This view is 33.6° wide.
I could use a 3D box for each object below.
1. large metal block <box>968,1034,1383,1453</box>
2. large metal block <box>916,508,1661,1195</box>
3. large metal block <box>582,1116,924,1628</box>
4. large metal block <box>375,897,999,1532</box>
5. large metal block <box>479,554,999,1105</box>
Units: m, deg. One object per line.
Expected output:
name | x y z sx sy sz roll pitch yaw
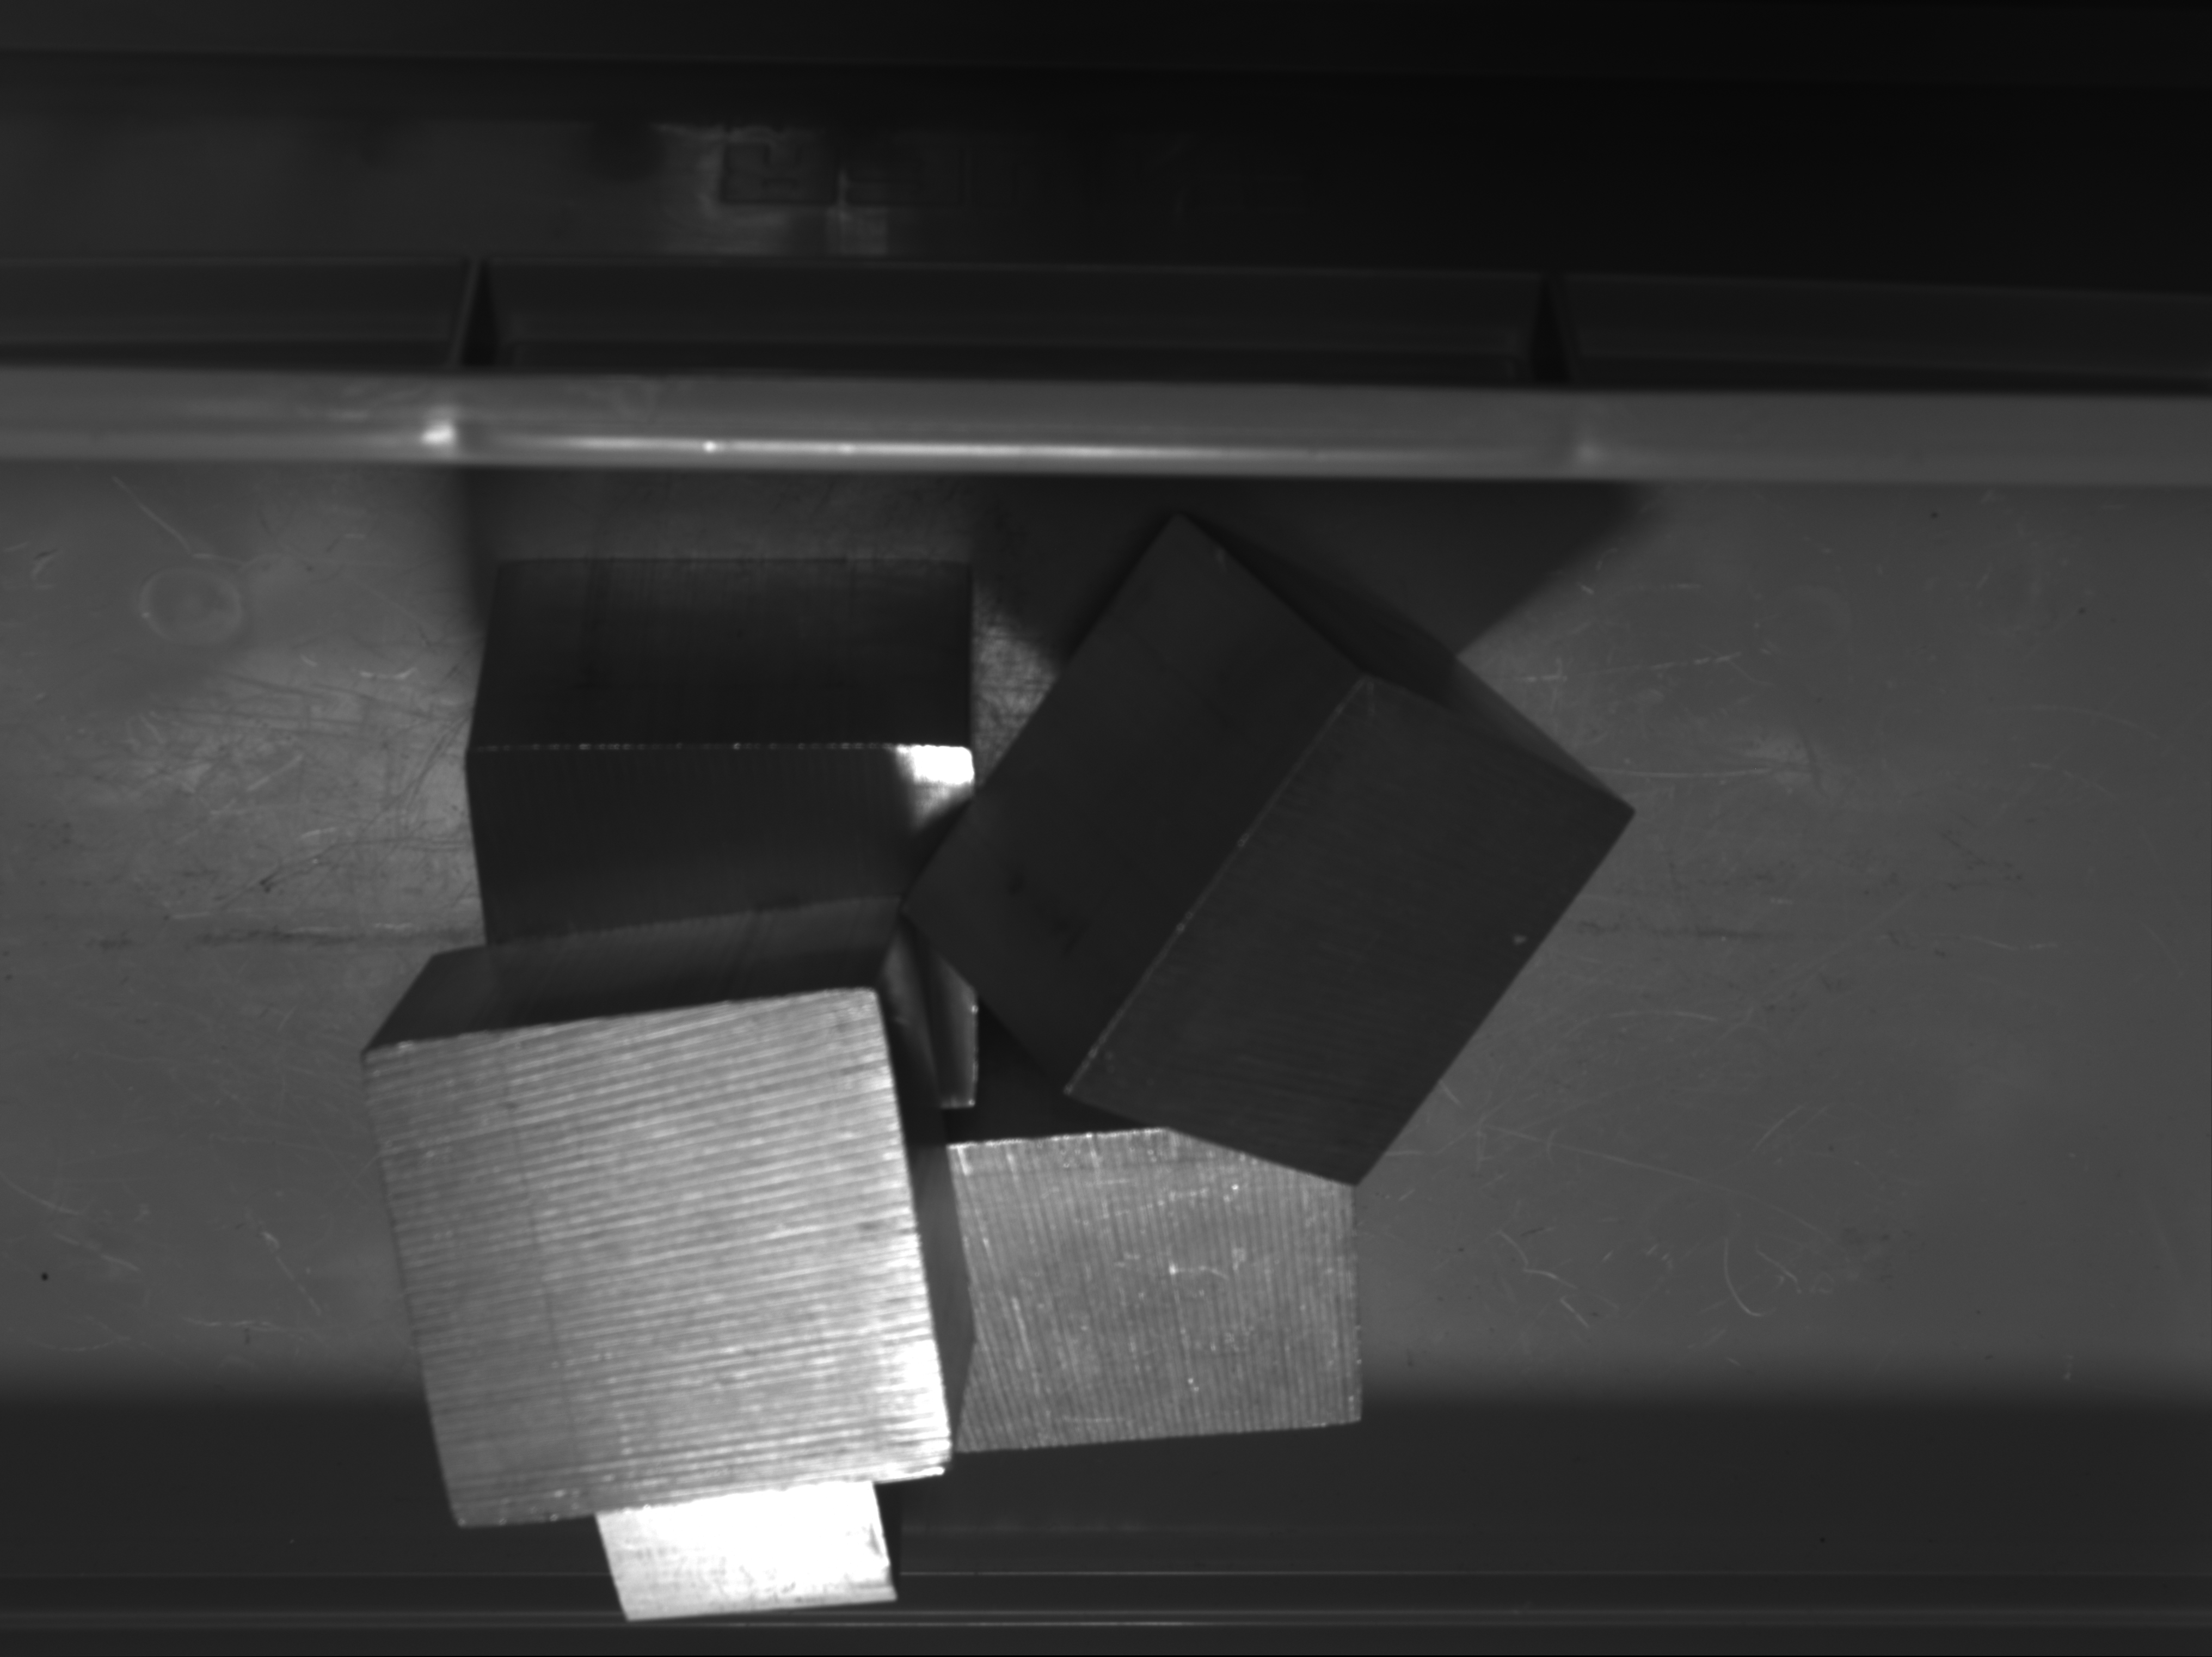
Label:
large metal block | 0.008 0.067 0.674 0.080 0.050 0.080 -4 130 2
large metal block | 0.030 0.006 0.593 0.080 0.050 0.080 22 107 -48
large metal block | -0.064 0.088 0.672 0.050 0.080 0.080 -5 130 3
large metal block | -0.064 0.061 0.584 0.080 0.050 0.080 -7 105 5
large metal block | -0.059 0.001 0.620 0.080 0.050 0.080 -1 130 -1
